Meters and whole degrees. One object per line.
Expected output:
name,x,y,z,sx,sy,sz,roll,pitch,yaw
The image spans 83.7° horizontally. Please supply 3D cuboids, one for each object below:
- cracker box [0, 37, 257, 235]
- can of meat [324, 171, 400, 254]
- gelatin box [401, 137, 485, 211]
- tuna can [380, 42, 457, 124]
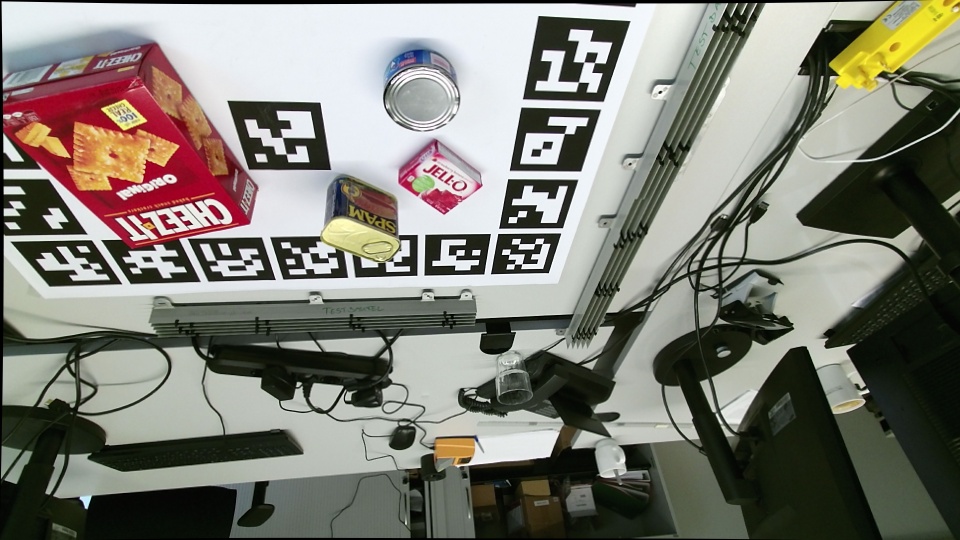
cracker box,-0.395,-0.141,0.624,0.165,0.071,0.214,-11,144,6
can of meat,-0.163,-0.080,0.737,0.102,0.083,0.058,18,136,-32
gelatin box,-0.050,-0.127,0.728,0.073,0.030,0.090,-31,134,32
tuna can,-0.070,-0.211,0.608,0.086,0.033,0.086,-6,139,-5
